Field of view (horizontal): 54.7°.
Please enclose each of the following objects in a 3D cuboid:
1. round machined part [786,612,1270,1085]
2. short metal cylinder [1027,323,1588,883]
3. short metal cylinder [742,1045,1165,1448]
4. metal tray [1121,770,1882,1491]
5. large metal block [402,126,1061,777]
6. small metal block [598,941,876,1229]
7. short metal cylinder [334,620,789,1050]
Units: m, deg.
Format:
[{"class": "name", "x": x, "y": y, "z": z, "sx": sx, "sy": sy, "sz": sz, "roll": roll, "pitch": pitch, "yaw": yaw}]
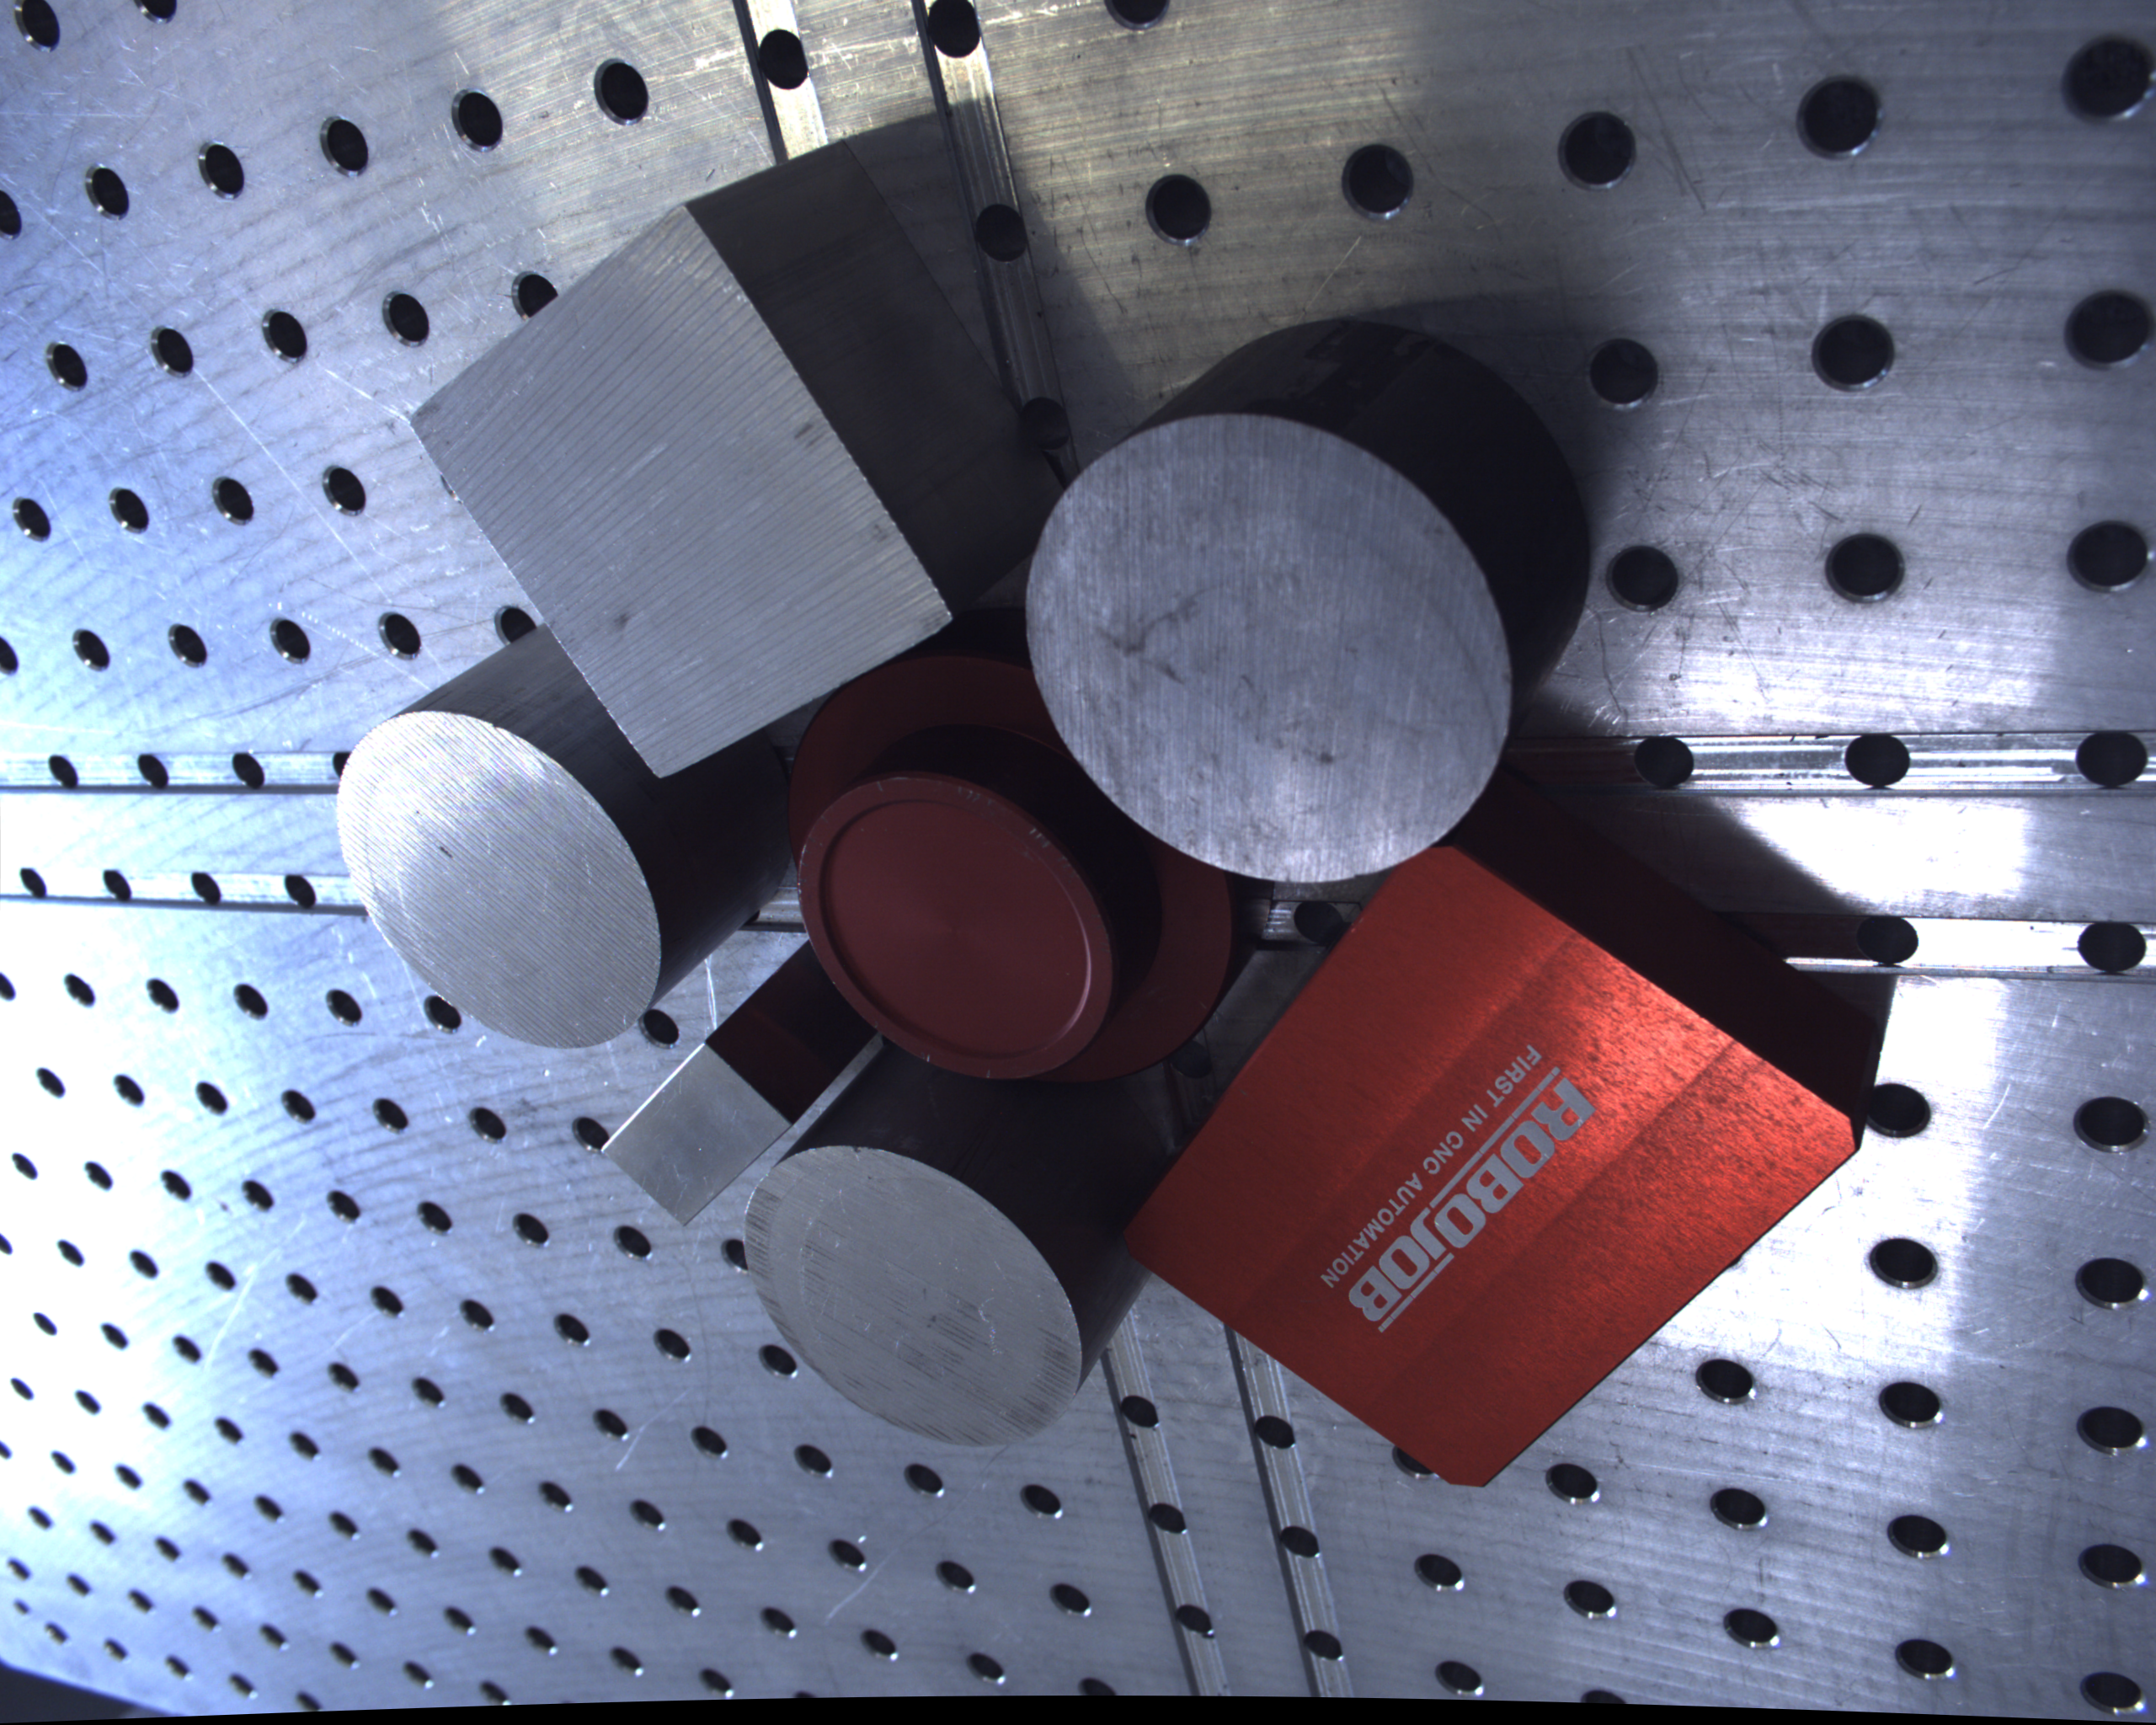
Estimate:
[{"class": "round machined part", "x": -0.015, "y": 0.004, "z": 0.410, "sx": 0.098, "sy": 0.042, "sz": 0.097, "roll": 13, "pitch": 124, "yaw": 21}, {"class": "short metal cylinder", "x": 0.039, "y": -0.043, "z": 0.347, "sx": 0.080, "sy": 0.050, "sz": 0.079, "roll": 13, "pitch": 124, "yaw": 21}, {"class": "short metal cylinder", "x": -0.026, "y": 0.080, "z": 0.458, "sx": 0.080, "sy": 0.050, "sz": 0.079, "roll": 13, "pitch": 124, "yaw": 21}, {"class": "metal tray", "x": 0.076, "y": 0.055, "z": 0.401, "sx": 0.090, "sy": 0.030, "sz": 0.129, "roll": 35, "pitch": 129, "yaw": 5}, {"class": "large metal block", "x": -0.061, "y": -0.073, "z": 0.382, "sx": 0.080, "sy": 0.050, "sz": 0.080, "roll": -23, "pitch": 106, "yaw": 36}, {"class": "small metal block", "x": -0.071, "y": 0.047, "z": 0.460, "sx": 0.025, "sy": 0.050, "sz": 0.050, "roll": 45, "pitch": 129, "yaw": -3}, {"class": "short metal cylinder", "x": -0.110, "y": -0.007, "z": 0.448, "sx": 0.080, "sy": 0.050, "sz": 0.079, "roll": 13, "pitch": 124, "yaw": 21}]
